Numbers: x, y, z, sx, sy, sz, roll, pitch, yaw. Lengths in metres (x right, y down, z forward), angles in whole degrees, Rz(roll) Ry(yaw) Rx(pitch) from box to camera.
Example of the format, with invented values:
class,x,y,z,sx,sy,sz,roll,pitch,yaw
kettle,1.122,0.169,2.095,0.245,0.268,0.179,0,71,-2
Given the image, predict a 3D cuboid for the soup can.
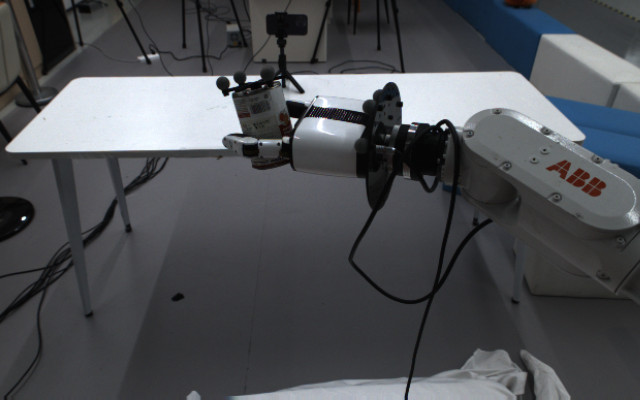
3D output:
class,x,y,z,sx,sy,sz,roll,pitch,yaw
soup can,-0.070,-0.099,0.640,0.067,0.101,0.067,-13,20,5
